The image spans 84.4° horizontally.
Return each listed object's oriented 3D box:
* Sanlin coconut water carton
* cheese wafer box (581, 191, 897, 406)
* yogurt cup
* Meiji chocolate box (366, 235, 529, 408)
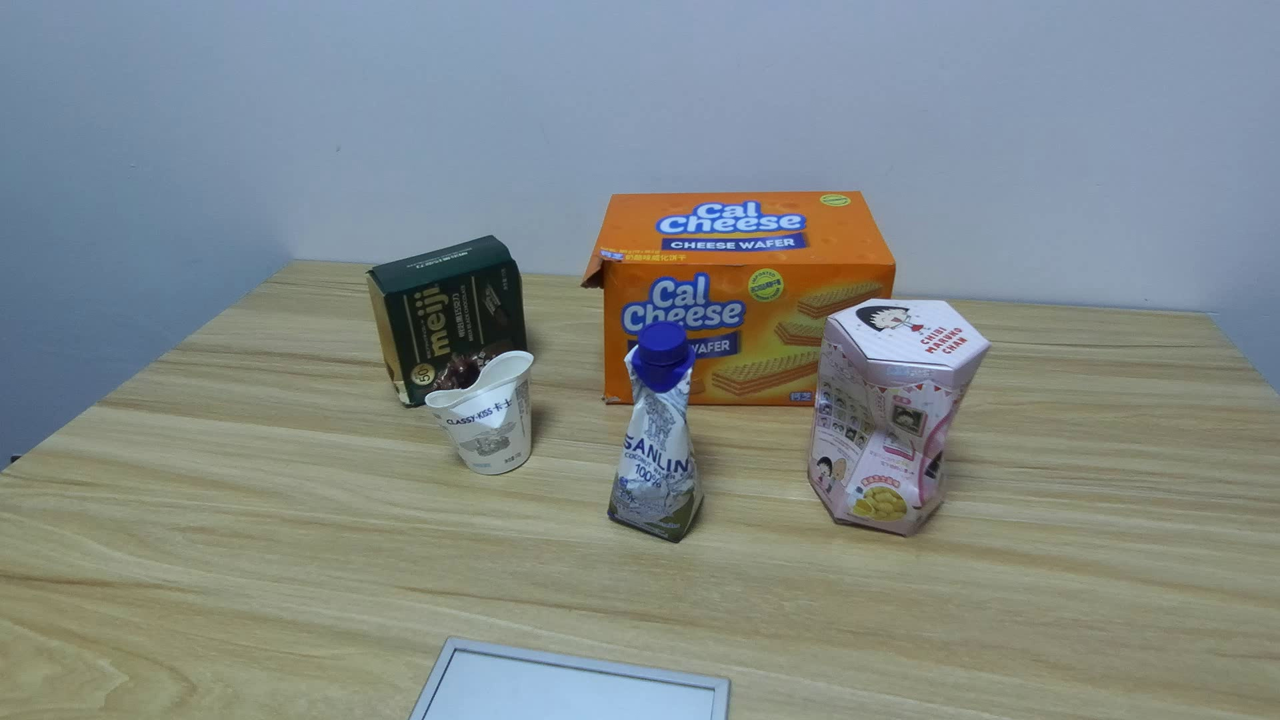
[{"bbox_3d":[0.020,0.041,0.445,0.056,0.144,0.068,17,29,17],"label":"Sanlin coconut water carton"},{"bbox_3d":[0.078,-0.057,0.591,0.227,0.137,0.149,1,35,4],"label":"cheese wafer box"},{"bbox_3d":[-0.111,0.040,0.517,0.053,0.071,0.075,9,36,19],"label":"yogurt cup"},{"bbox_3d":[-0.158,-0.035,0.596,0.123,0.116,0.058,-17,37,-22],"label":"Meiji chocolate box"}]
